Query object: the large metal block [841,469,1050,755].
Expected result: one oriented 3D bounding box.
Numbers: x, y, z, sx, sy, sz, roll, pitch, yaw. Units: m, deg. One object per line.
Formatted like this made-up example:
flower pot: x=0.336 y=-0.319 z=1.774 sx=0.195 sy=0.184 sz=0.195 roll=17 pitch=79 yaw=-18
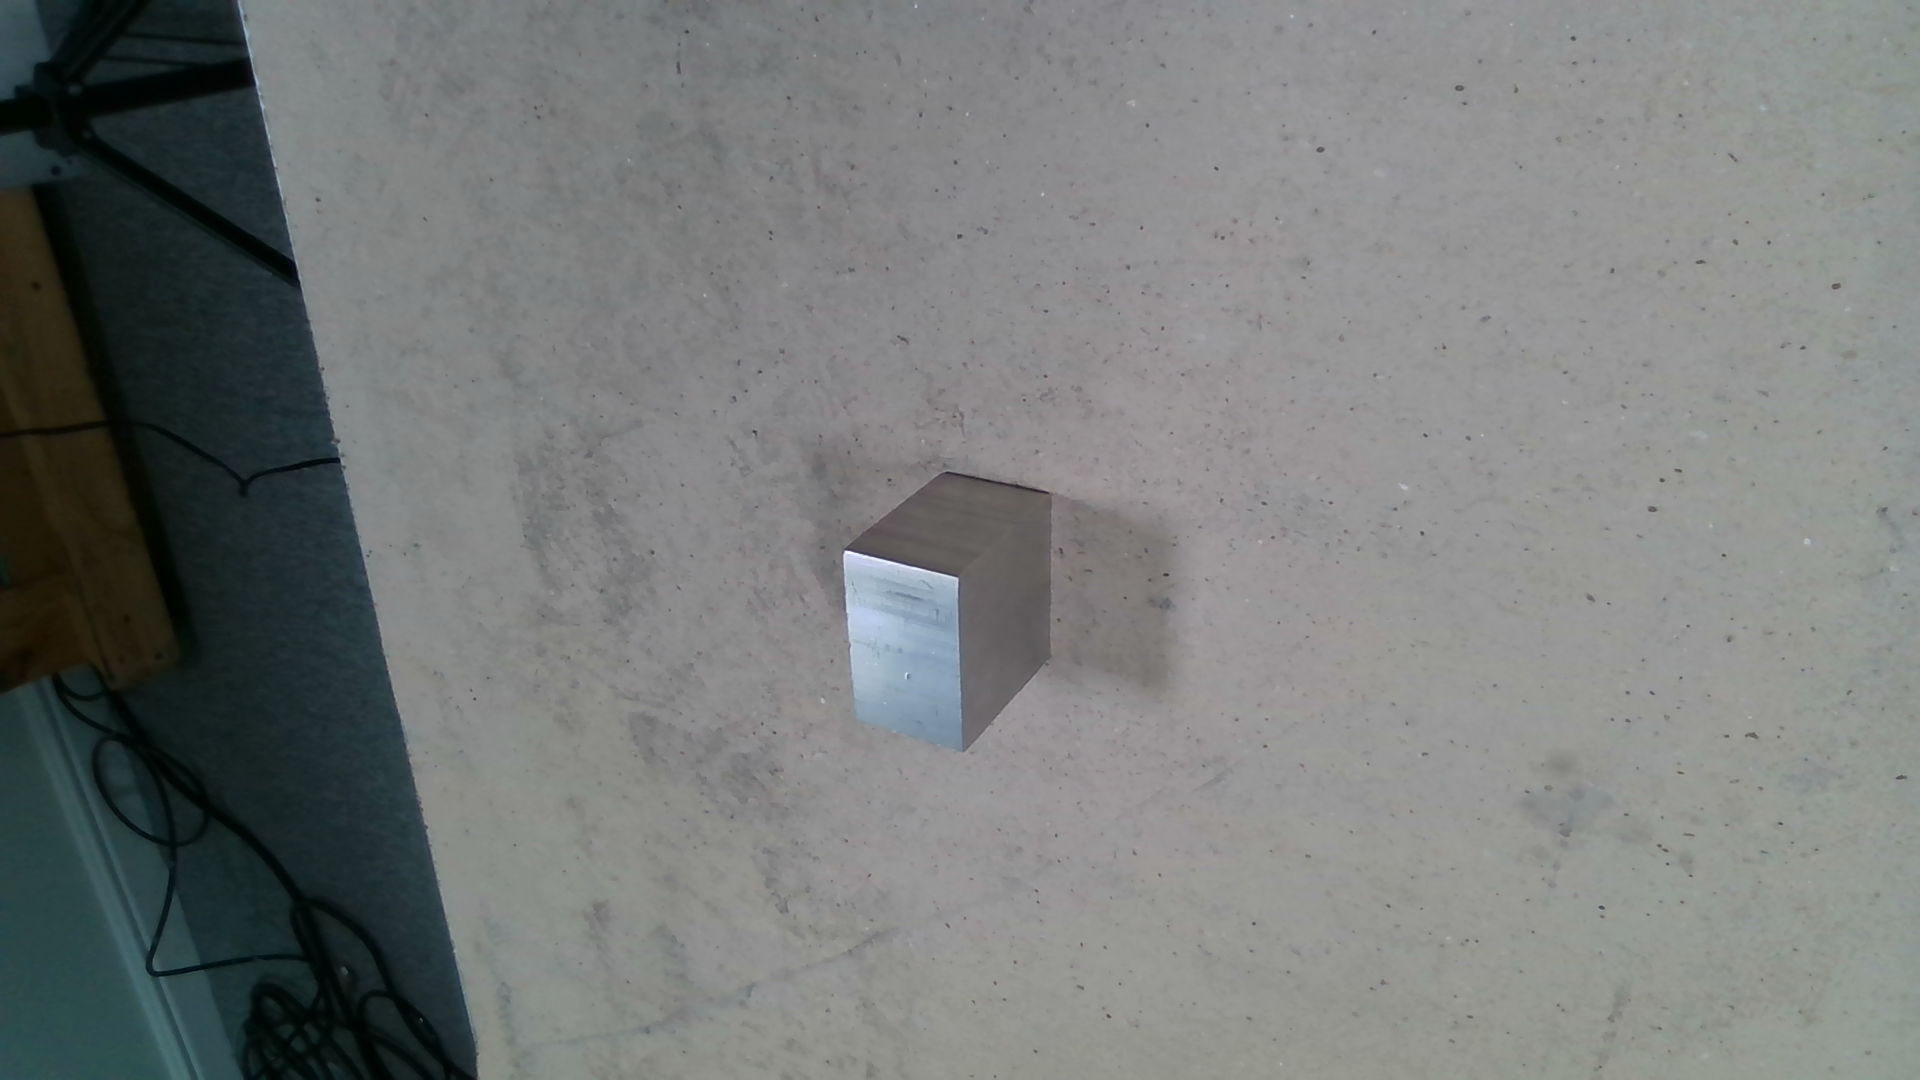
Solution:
large metal block: x=-0.003 y=0.027 z=0.562 sx=0.050 sy=0.080 sz=0.080 roll=13 pitch=121 yaw=26
